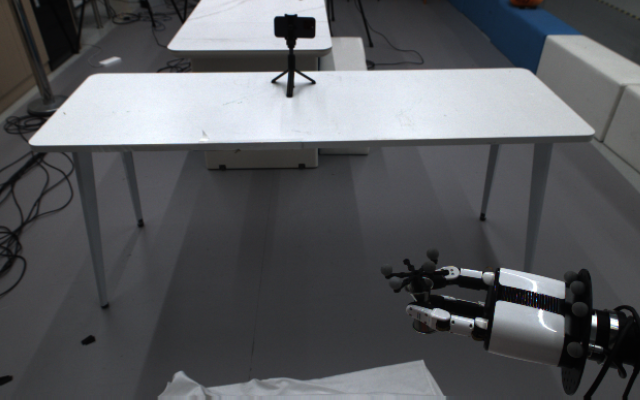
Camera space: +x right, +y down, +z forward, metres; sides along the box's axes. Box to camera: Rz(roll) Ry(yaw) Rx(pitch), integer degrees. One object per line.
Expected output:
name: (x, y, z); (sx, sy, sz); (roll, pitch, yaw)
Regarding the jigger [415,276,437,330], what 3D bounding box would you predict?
jigger: (0.146, 0.147, 0.682); (0.043, 0.071, 0.043); (-14, 21, 6)
